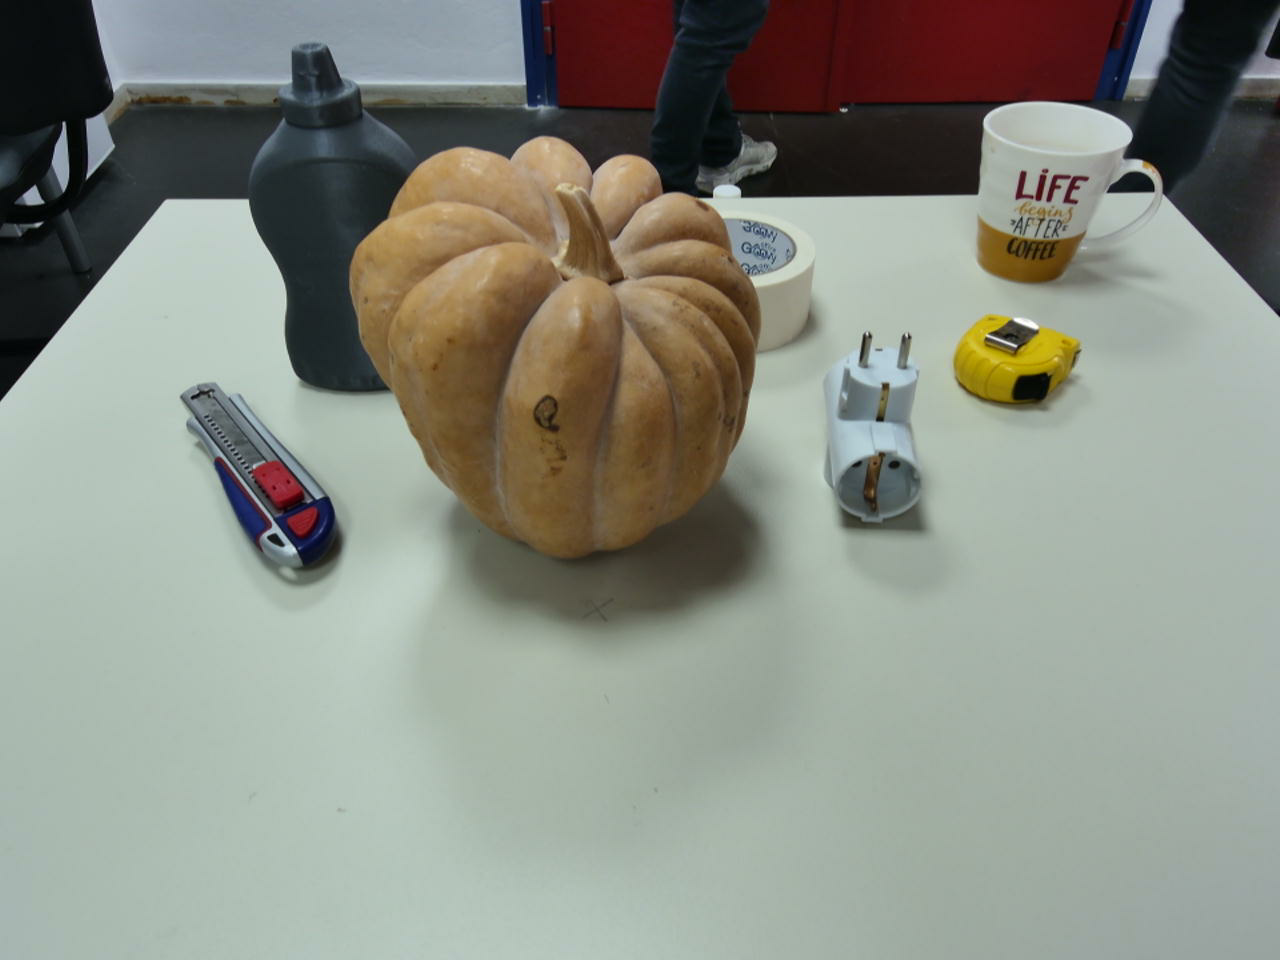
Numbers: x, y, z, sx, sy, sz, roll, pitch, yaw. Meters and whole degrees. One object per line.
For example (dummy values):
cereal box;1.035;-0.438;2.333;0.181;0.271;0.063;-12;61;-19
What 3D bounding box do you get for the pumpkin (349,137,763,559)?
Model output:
pumpkin;-0.036;-0.062;0.480;0.199;0.177;0.198;0;39;0
